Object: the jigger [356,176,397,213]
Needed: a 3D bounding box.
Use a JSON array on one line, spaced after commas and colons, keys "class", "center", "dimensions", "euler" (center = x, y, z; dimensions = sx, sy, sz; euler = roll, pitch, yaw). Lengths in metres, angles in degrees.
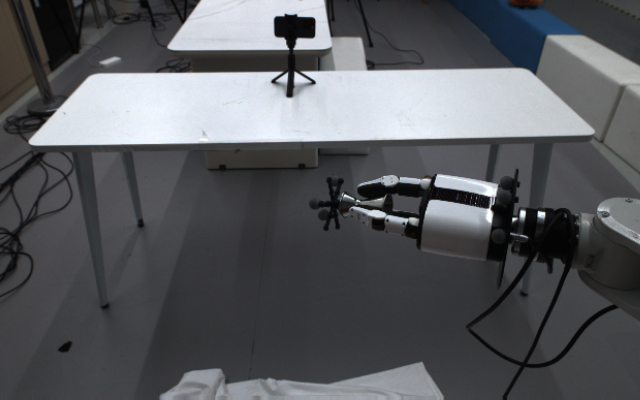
[{"class": "jigger", "center": [0.074, 0.003, 0.698], "dimensions": [0.071, 0.043, 0.043], "euler": [3, 32, 26]}]
